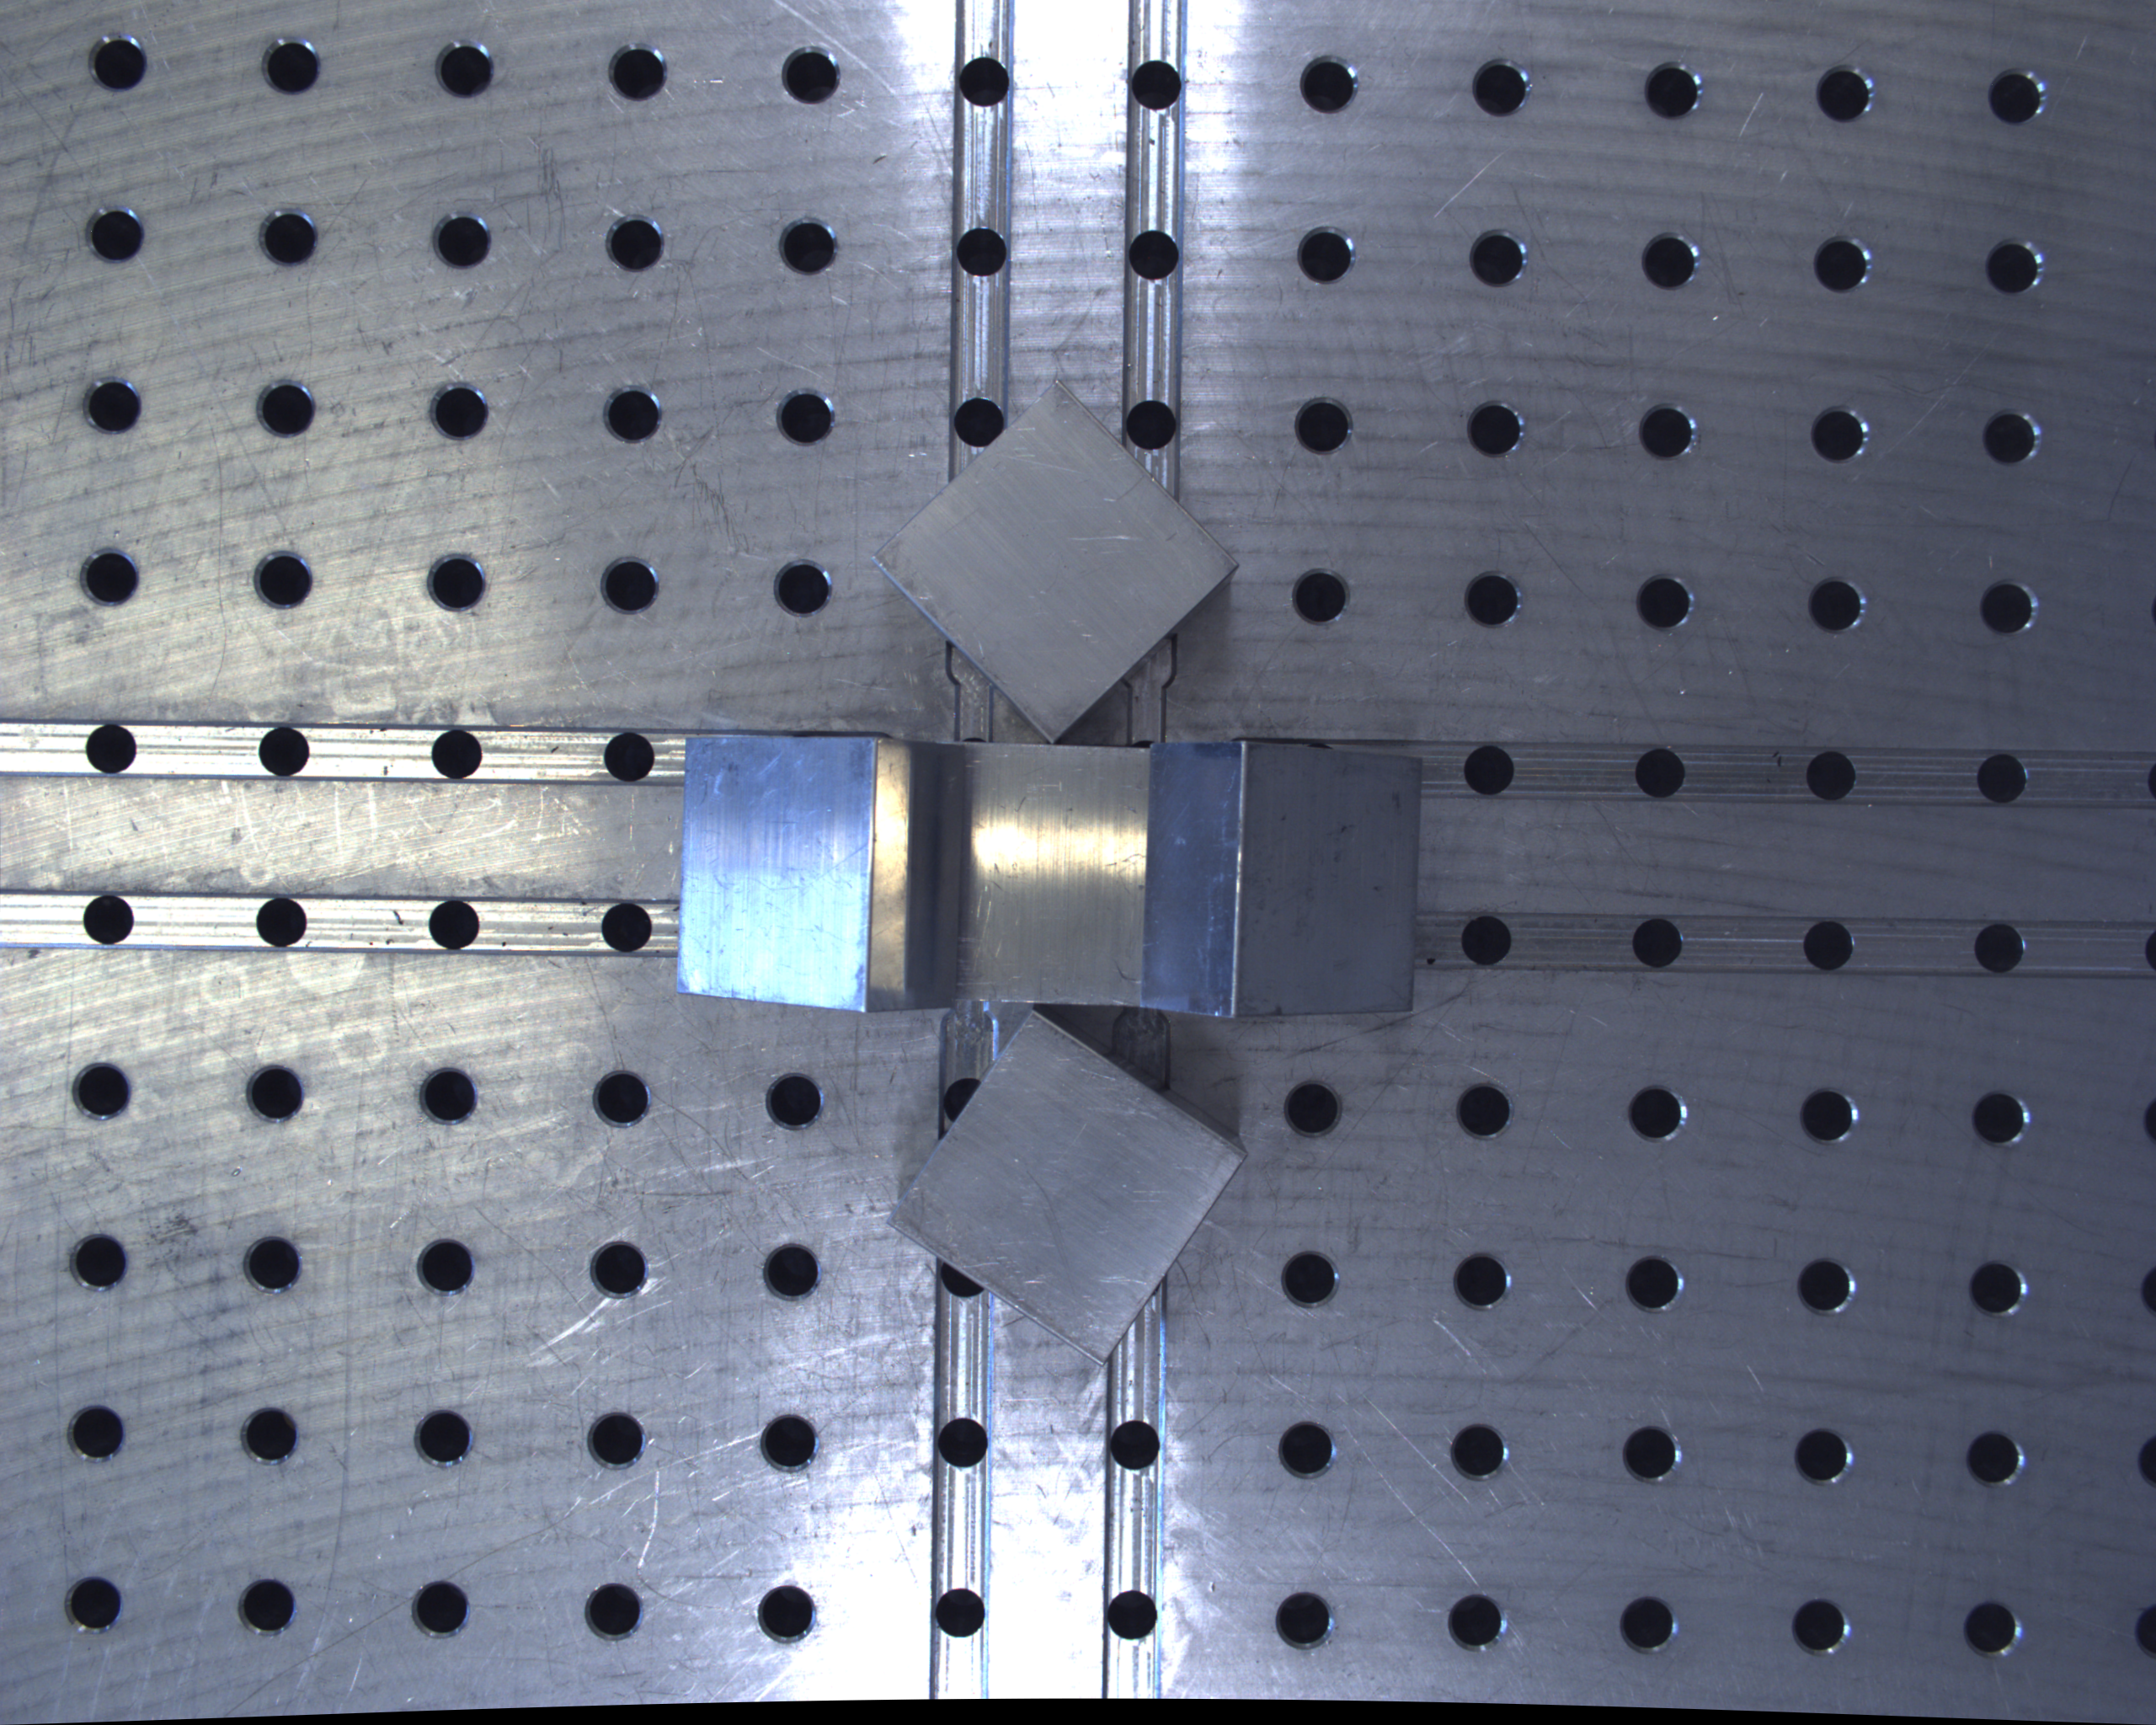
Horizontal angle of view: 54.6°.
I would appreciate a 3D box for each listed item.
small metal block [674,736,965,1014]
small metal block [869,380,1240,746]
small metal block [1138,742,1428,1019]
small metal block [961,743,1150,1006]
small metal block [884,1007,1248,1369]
[{"bbox_3d":[-0.050,0.001,0.400,0.050,0.025,0.050,3,91,36],"label":"small metal block"},{"bbox_3d":[-0.004,-0.058,0.413,0.050,0.025,0.050,-44,89,-1],"label":"small metal block"},{"bbox_3d":[0.040,0.004,0.400,0.050,0.025,0.050,3,90,-41],"label":"small metal block"},{"bbox_3d":[-0.004,0.002,0.413,0.050,0.025,0.050,1,89,0],"label":"small metal block"},{"bbox_3d":[-0.002,0.062,0.413,0.050,0.025,0.050,34,90,1],"label":"small metal block"}]
